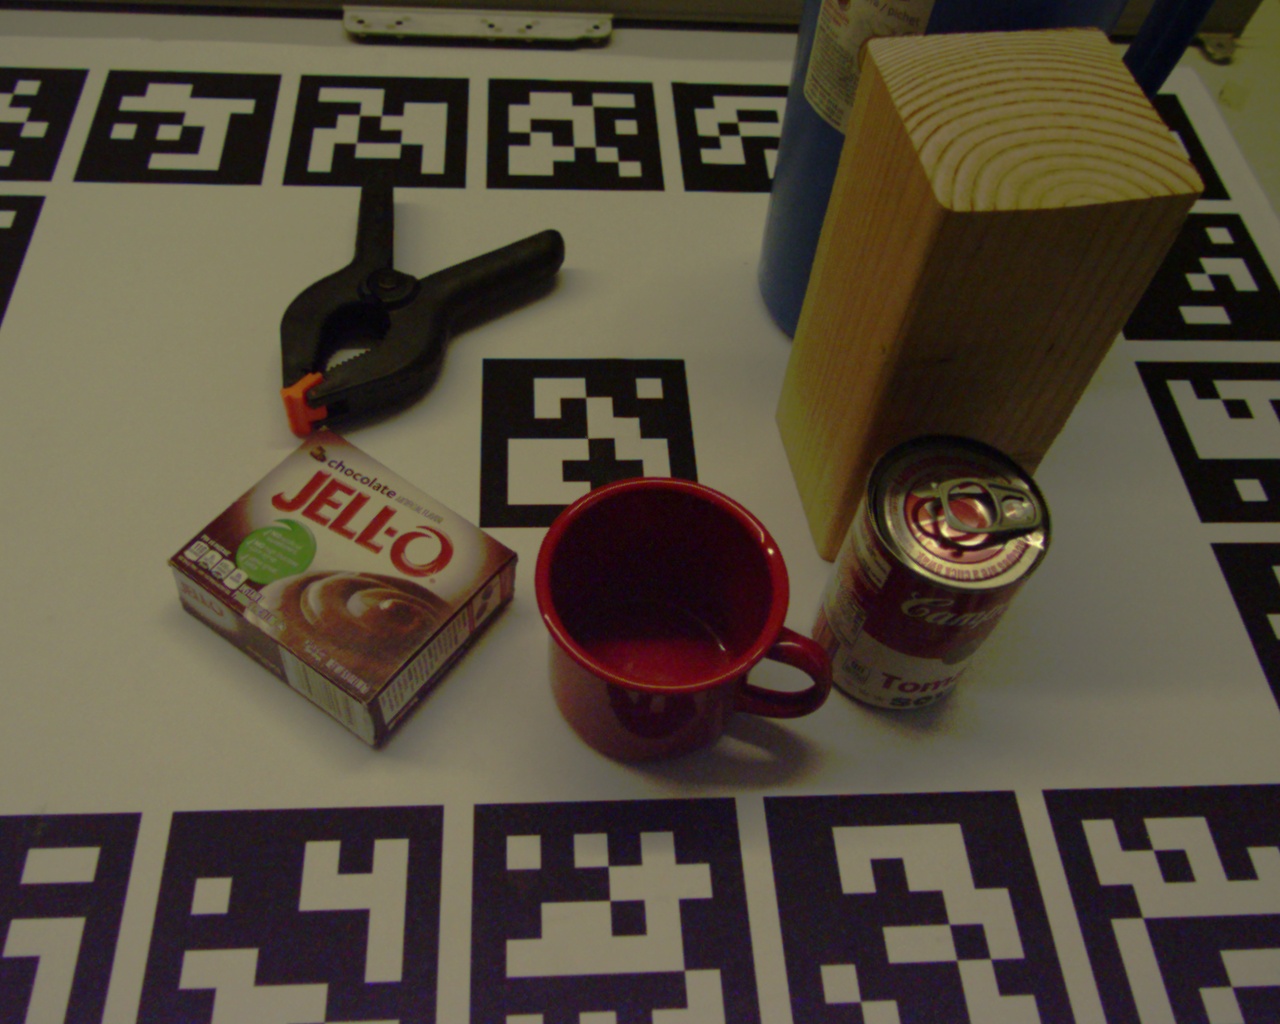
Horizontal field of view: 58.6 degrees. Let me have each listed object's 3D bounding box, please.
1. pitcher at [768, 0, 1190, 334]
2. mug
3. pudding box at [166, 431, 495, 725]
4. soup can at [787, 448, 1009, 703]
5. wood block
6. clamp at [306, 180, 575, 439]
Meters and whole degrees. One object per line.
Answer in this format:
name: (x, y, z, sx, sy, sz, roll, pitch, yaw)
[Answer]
pitcher: (0.139, -0.182, 0.544, 0.188, 0.242, 0.134, -2, 53, -2)
mug: (0.010, 0.053, 0.467, 0.118, 0.081, 0.093, 30, 56, 17)
pudding box: (-0.135, 0.027, 0.506, 0.115, 0.038, 0.089, 31, 62, 18)
soup can: (0.103, 0.030, 0.475, 0.068, 0.102, 0.068, 2, 58, -3)
wood block: (0.119, -0.074, 0.485, 0.089, 0.206, 0.091, 0, 55, -9)
clamp: (-0.122, -0.102, 0.604, 0.122, 0.036, 0.164, 27, 58, 6)
